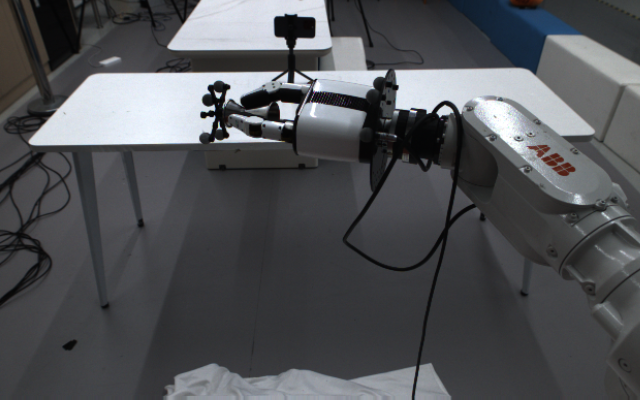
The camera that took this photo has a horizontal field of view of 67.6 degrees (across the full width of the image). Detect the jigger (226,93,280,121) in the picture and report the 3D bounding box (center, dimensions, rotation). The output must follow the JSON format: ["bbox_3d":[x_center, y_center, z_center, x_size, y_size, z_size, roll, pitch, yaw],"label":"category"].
[{"bbox_3d":[-0.090,-0.120,0.671,0.071,0.043,0.043,8,35,17],"label":"jigger"}]
